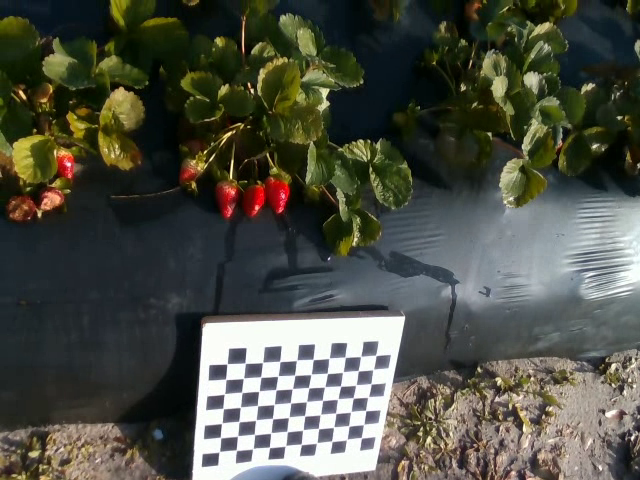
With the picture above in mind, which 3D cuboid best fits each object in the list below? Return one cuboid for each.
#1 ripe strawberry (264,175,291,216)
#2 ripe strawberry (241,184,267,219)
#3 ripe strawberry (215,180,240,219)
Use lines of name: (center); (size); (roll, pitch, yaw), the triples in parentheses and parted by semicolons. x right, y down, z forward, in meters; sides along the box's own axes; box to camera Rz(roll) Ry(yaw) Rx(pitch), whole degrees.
ripe strawberry: (-0.050, -0.045, 0.728); (0.035, 0.041, 0.034); (-4, -29, -14)
ripe strawberry: (-0.077, -0.044, 0.716); (0.030, 0.039, 0.037); (10, -47, -19)
ripe strawberry: (-0.106, -0.046, 0.715); (0.031, 0.046, 0.023); (0, 6, -15)
